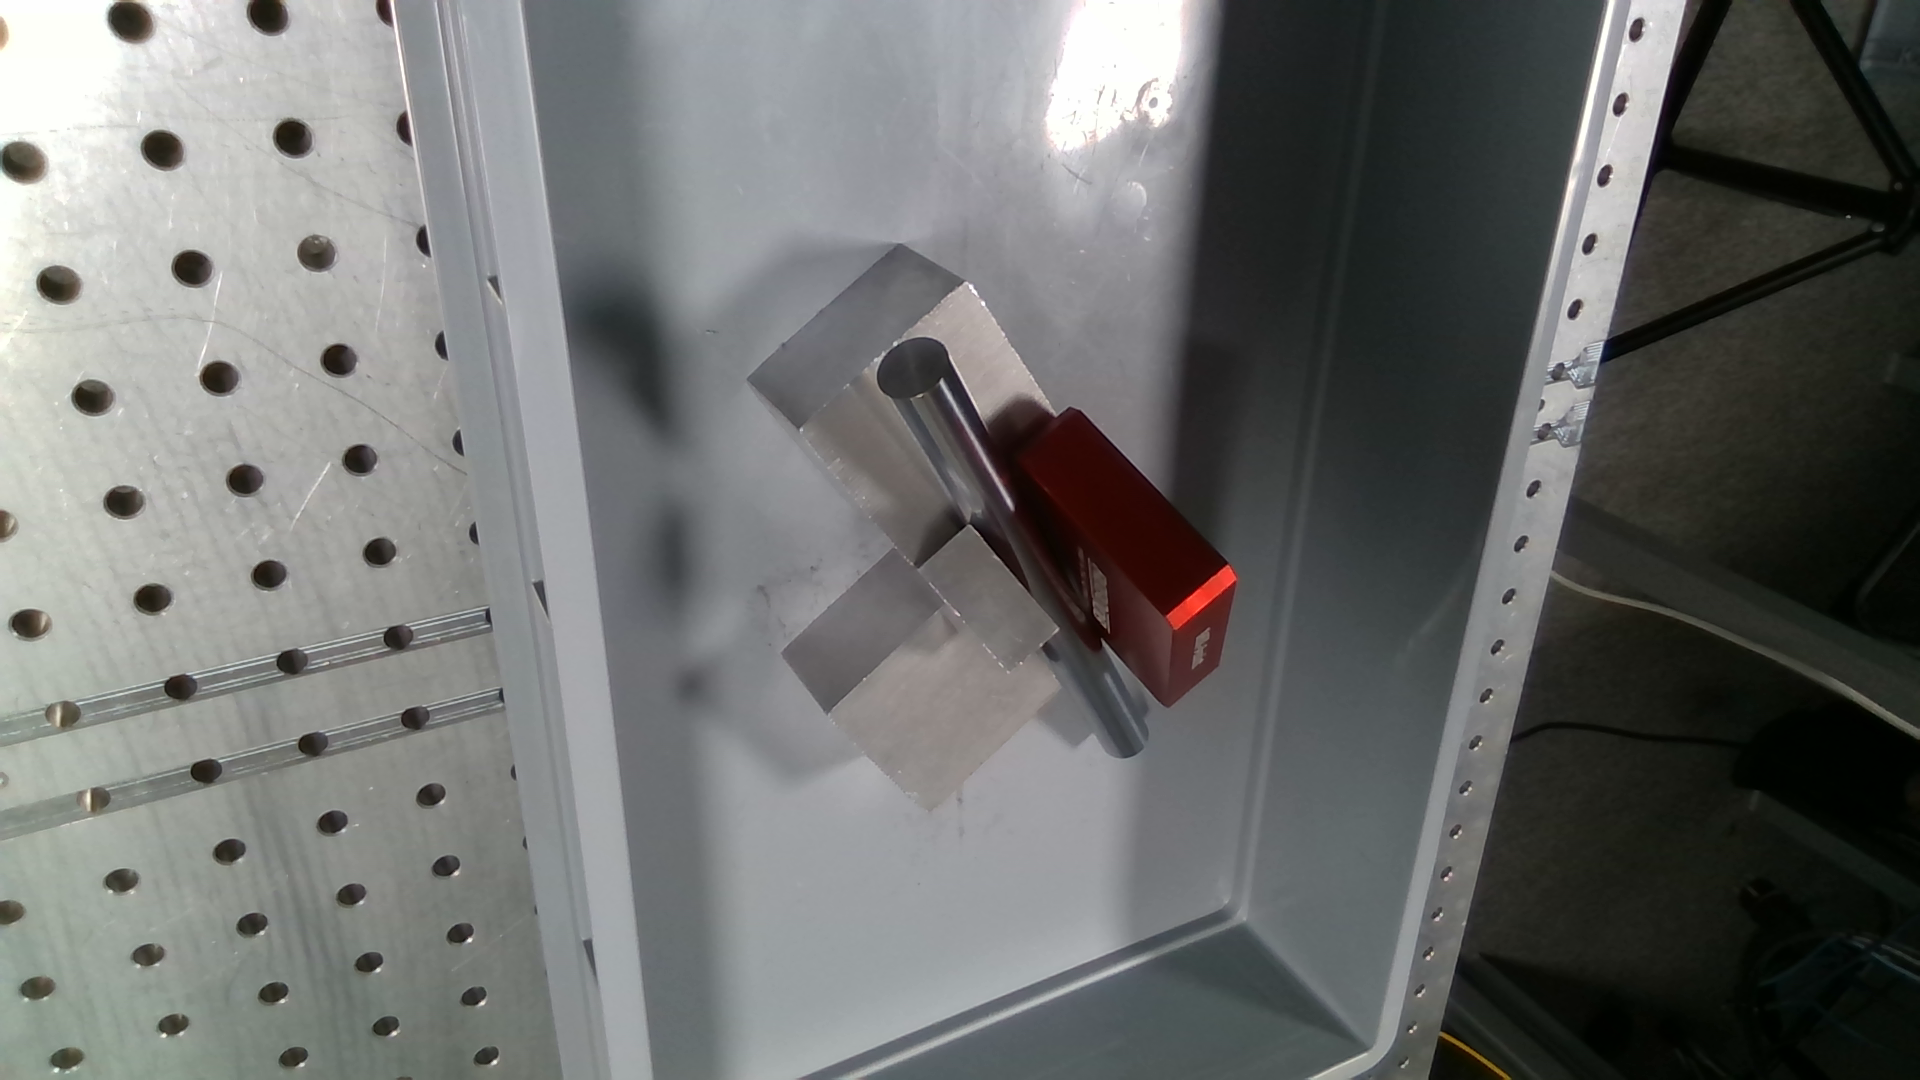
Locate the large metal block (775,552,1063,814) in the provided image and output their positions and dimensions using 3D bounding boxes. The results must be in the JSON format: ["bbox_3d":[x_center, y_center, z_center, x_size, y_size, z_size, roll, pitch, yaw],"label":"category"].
[{"bbox_3d":[-0.016,0.055,0.583,0.080,0.050,0.080,-43,129,-5],"label":"large metal block"}]

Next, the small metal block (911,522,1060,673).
[{"bbox_3d":[0.008,0.022,0.517,0.025,0.050,0.050,-41,92,-7],"label":"small metal block"}]

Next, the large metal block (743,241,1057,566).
[{"bbox_3d":[-0.020,-0.051,0.521,0.080,0.050,0.080,-43,129,-5],"label":"large metal block"}]

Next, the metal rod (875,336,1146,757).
[{"bbox_3d":[0.032,0.021,0.563,0.025,0.025,0.301,-41,144,-6],"label":"metal rod"}]

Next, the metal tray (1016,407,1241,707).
[{"bbox_3d":[0.066,0.011,0.550,0.030,0.090,0.130,-39,161,-7],"label":"metal tray"}]
